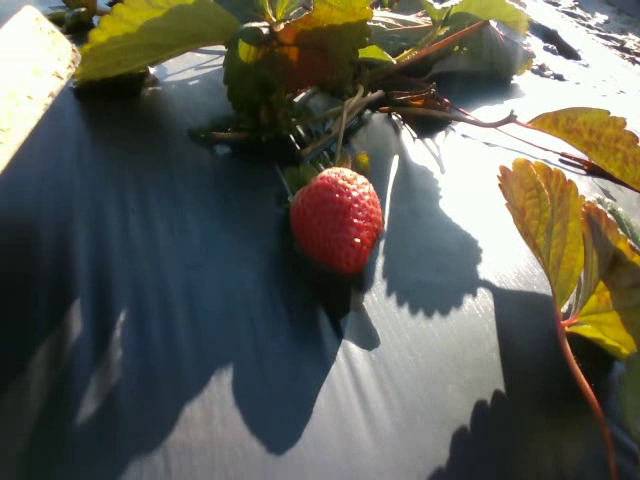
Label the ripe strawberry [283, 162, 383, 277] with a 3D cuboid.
[{"bbox_3d":[0.009,-0.006,0.235,0.044,0.044,0.064,-36,35,11],"label":"ripe strawberry"}]
